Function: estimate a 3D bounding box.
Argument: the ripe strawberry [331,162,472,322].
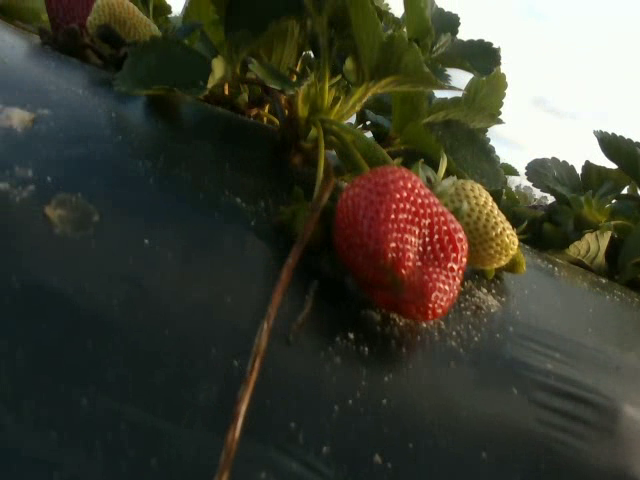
[{"bbox_3d":[0.029,-0.002,0.181,0.047,0.035,0.050,23,35,-5],"label":"ripe strawberry"}]

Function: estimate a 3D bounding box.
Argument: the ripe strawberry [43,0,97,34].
[{"bbox_3d":[-0.149,-0.142,0.377,0.058,0.071,0.057,-28,0,-44],"label":"ripe strawberry"}]
